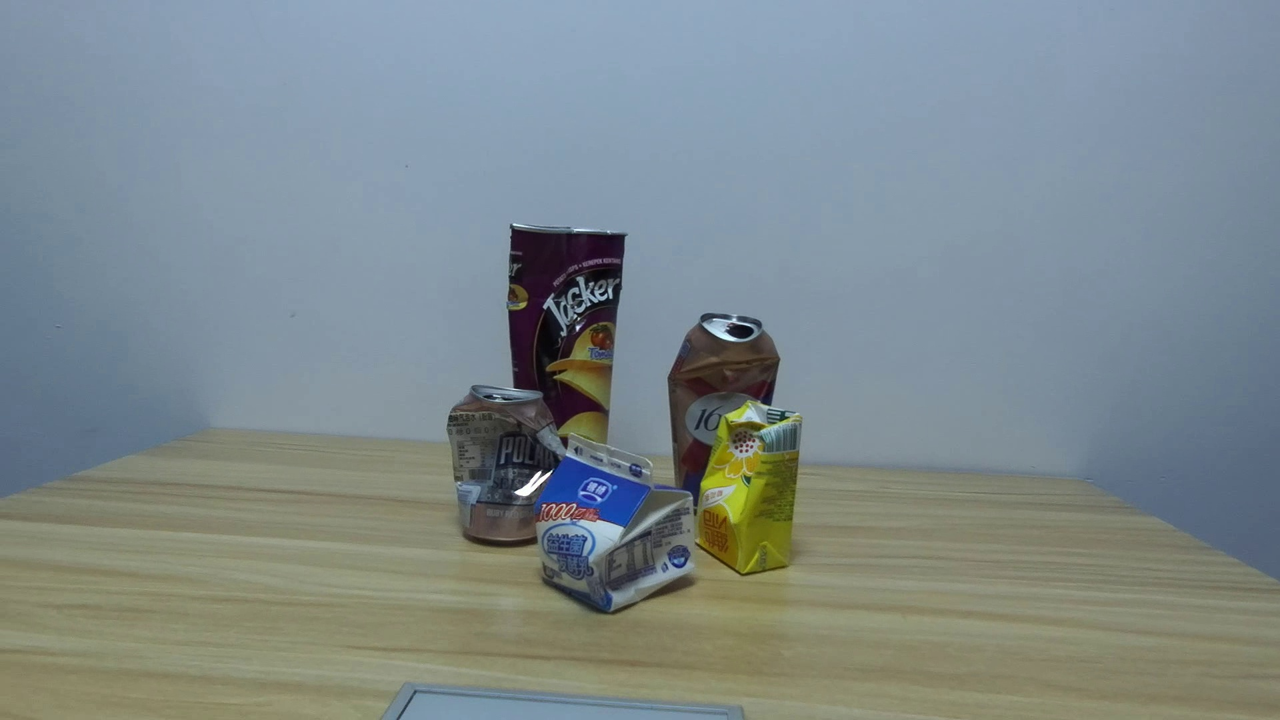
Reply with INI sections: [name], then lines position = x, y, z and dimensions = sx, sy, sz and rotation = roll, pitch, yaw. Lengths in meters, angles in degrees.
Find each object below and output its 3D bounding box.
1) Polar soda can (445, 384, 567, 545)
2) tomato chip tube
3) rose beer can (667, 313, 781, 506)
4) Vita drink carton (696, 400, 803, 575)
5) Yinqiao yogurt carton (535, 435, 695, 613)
[Polar soda can]
position = -0.097, 0.076, 0.526
dimensions = 0.075, 0.114, 0.070
rotation = -9, 19, -36
[tomato chip tube]
position = -0.065, 0.005, 0.610
dimensions = 0.090, 0.235, 0.078
rotation = 4, 10, 4
[rose beer can]
position = 0.069, 0.046, 0.595
dimensions = 0.069, 0.168, 0.069
rotation = 14, 15, 41
[Vita drink carton]
position = 0.075, 0.087, 0.503
dimensions = 0.047, 0.109, 0.071
rotation = 0, 8, -28
[Yinqiao yogurt carton]
position = -0.018, 0.098, 0.443
dimensions = 0.074, 0.097, 0.080
rotation = 9, 18, 41
